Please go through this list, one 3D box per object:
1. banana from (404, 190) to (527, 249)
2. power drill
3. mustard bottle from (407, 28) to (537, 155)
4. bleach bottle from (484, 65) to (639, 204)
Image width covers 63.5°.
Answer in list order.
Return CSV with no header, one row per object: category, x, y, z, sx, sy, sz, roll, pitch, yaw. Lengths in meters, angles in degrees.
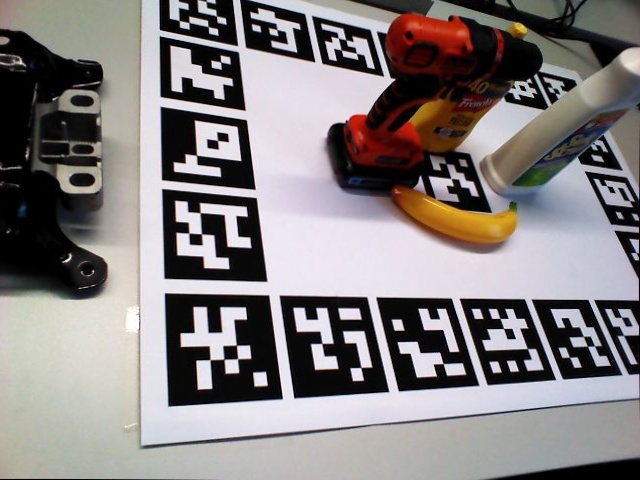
banana,0.194,-0.025,0.650,0.197,0.039,0.074,6,64,-21
power drill,0.121,-0.148,0.570,0.184,0.188,0.057,2,54,-28
mustard bottle,0.198,-0.186,0.653,0.096,0.193,0.058,5,60,-25
bleach bottle,0.332,-0.138,0.663,0.102,0.252,0.067,-5,65,-28
